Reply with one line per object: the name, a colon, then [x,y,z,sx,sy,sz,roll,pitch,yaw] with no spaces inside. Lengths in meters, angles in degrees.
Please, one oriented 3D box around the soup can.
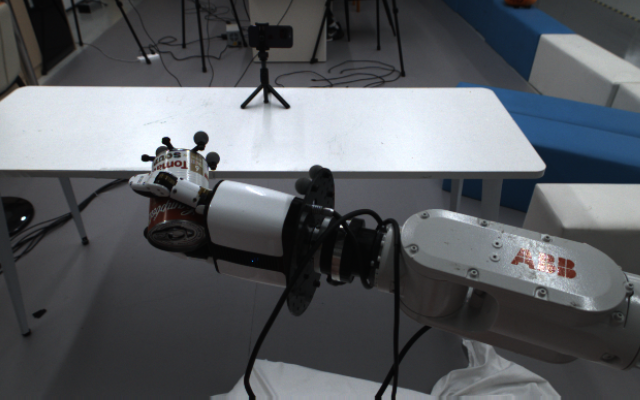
soup can: [-0.160,0.001,0.558,0.067,0.067,0.101,-5,56,-9]
